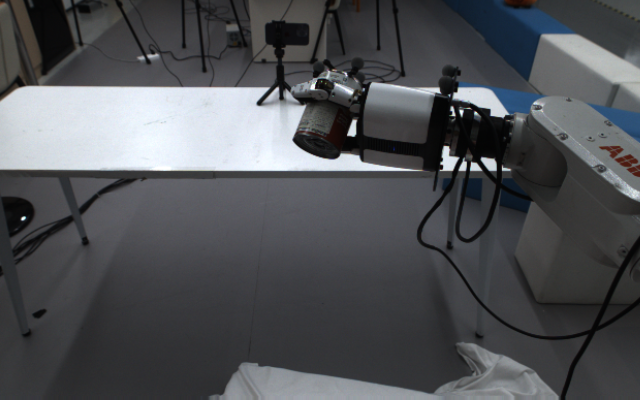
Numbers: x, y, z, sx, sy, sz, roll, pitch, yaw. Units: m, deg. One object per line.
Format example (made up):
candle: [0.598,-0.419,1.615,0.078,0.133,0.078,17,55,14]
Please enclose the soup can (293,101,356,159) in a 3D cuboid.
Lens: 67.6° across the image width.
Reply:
soup can: [0.012,-0.116,0.657,0.067,0.067,0.101,15,74,18]
